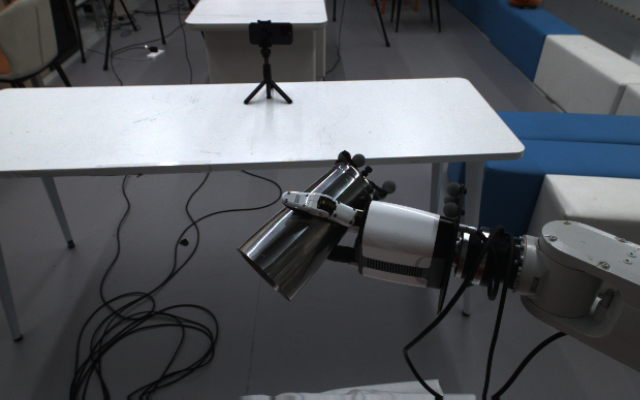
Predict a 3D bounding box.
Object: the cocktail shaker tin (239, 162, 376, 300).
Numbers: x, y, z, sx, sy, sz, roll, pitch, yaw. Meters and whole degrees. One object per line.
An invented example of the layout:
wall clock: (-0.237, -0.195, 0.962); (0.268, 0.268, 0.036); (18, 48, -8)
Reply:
cocktail shaker tin: (-0.011, 0.029, 0.610); (0.170, 0.093, 0.093); (-43, 50, -14)
